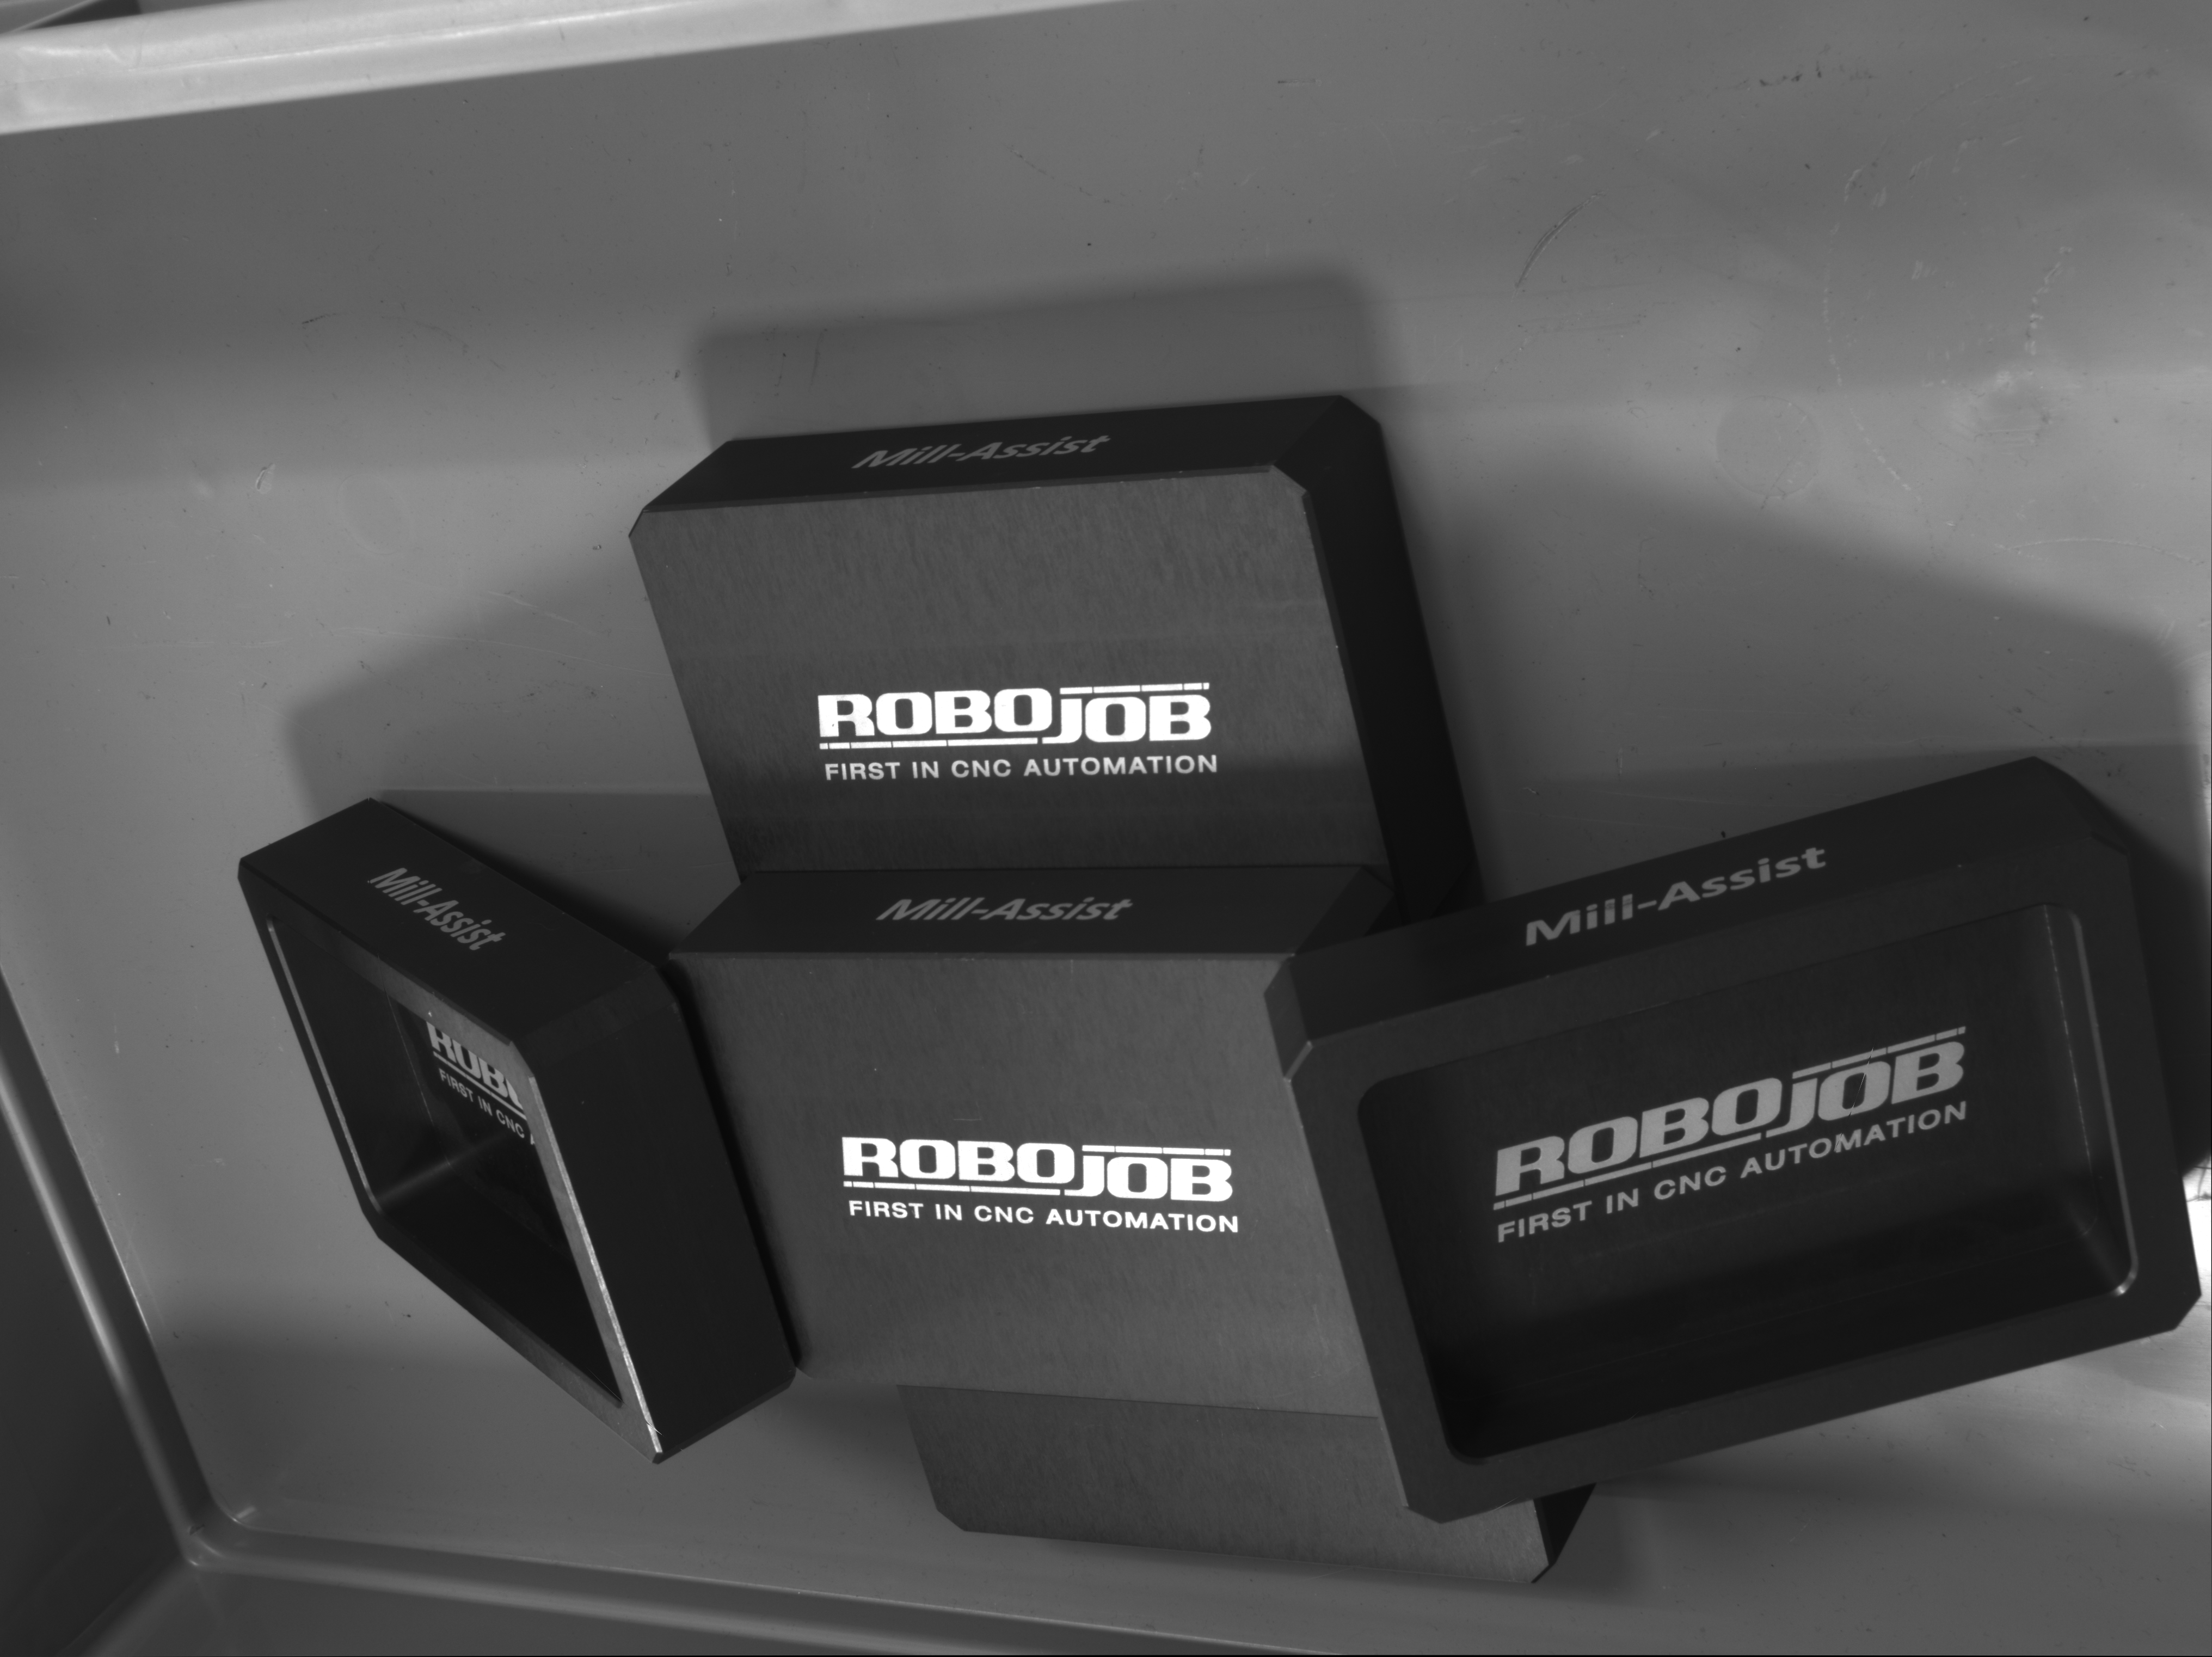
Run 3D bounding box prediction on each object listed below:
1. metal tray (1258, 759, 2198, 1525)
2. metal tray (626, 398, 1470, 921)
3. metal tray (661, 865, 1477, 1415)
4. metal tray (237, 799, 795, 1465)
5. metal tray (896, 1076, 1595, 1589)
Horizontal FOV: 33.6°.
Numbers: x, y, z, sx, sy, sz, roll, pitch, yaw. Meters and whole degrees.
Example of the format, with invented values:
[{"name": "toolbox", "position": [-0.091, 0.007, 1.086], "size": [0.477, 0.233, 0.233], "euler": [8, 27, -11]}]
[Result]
[{"name": "metal tray", "position": [0.098, 0.050, 0.575], "size": [0.130, 0.030, 0.090], "euler": [-15, 114, 3]}, {"name": "metal tray", "position": [-0.010, -0.023, 0.628], "size": [0.130, 0.030, 0.090], "euler": [-1, 118, 28]}, {"name": "metal tray", "position": [-0.006, 0.054, 0.635], "size": [0.130, 0.030, 0.090], "euler": [-2, 117, 29]}, {"name": "metal tray", "position": [-0.113, 0.054, 0.693], "size": [0.130, 0.030, 0.090], "euler": [24, 135, 52]}, {"name": "metal tray", "position": [0.020, 0.091, 0.682], "size": [0.130, 0.030, 0.090], "euler": [-1, 118, 28]}]
